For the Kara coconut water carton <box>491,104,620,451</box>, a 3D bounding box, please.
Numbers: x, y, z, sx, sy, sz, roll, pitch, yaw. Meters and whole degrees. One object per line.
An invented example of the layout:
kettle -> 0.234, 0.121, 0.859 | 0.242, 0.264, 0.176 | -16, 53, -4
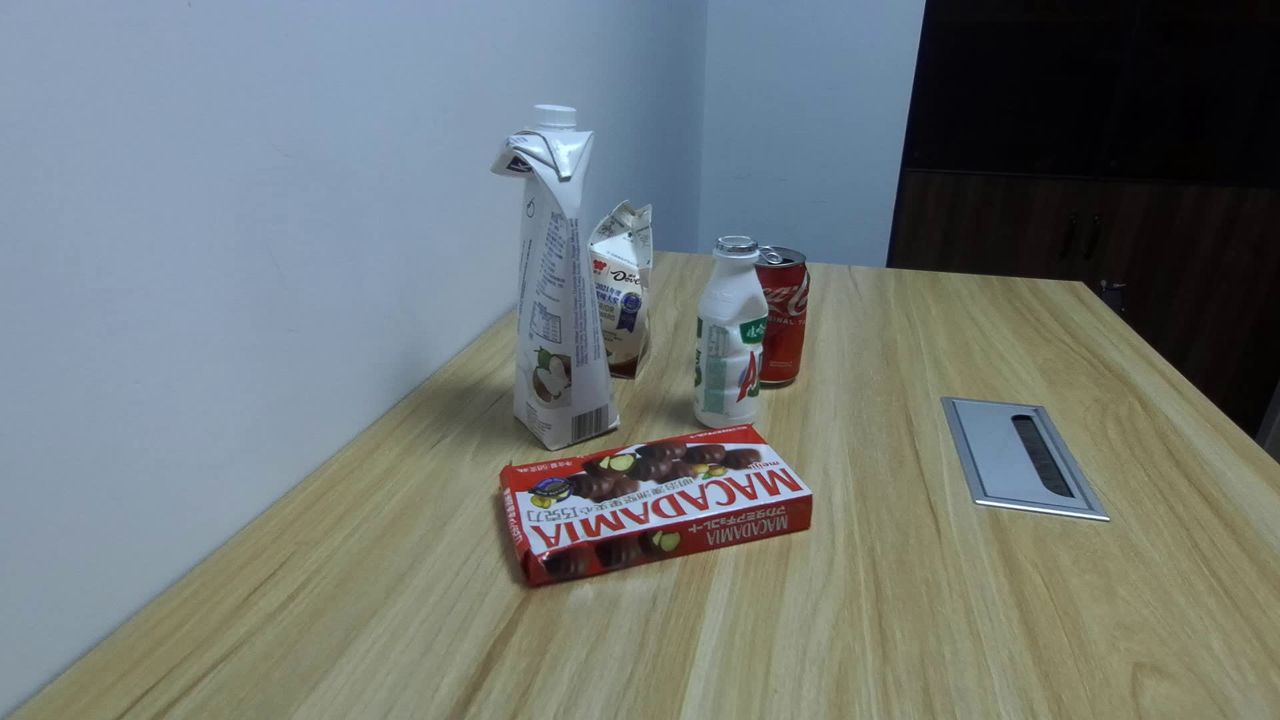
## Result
Kara coconut water carton -> -0.061, -0.058, 0.513 | 0.069, 0.238, 0.114 | -15, 26, -28

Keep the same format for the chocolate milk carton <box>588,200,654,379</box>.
chocolate milk carton -> -0.023, -0.066, 0.651 | 0.076, 0.155, 0.089 | 8, 10, 6

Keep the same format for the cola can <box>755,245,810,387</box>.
cola can -> 0.115, -0.041, 0.632 | 0.066, 0.117, 0.066 | 3, 26, 8

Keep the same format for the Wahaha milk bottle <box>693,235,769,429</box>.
Wahaha milk bottle -> 0.070, -0.020, 0.539 | 0.056, 0.148, 0.056 | 1, 23, 0

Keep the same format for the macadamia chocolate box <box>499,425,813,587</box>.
macadamia chocolate box -> 0.008, 0.087, 0.452 | 0.183, 0.028, 0.105 | -7, 25, -16
